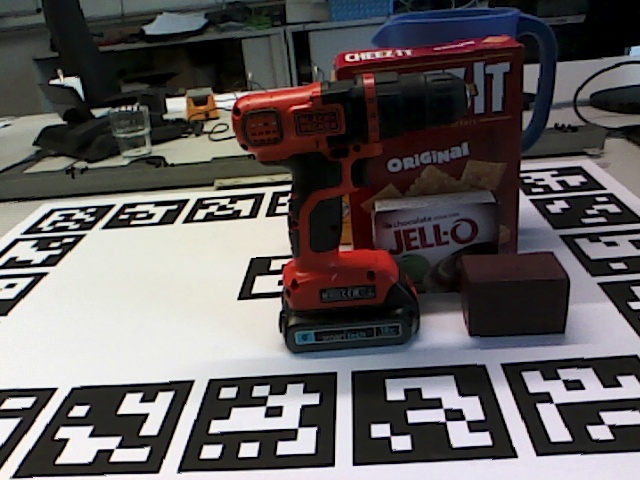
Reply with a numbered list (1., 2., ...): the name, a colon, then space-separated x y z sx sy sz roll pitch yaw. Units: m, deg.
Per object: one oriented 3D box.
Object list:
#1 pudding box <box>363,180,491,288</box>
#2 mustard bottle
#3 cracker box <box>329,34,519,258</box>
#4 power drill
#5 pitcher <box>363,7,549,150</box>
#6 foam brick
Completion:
1. pudding box: 0.100 -0.005 0.581 0.114 0.090 0.039 -7 24 7
2. mustard bottle: 0.021 -0.108 0.702 0.096 0.191 0.058 1 28 17
3. cracker box: 0.103 -0.075 0.601 0.164 0.213 0.072 -8 24 4
4. power drill: 0.029 -0.034 0.501 0.185 0.186 0.057 -5 23 3
5. pitcher: 0.152 -0.129 0.687 0.189 0.242 0.133 -4 26 11
6. foam brick: 0.159 0.048 0.533 0.078 0.051 0.053 -4 28 7
